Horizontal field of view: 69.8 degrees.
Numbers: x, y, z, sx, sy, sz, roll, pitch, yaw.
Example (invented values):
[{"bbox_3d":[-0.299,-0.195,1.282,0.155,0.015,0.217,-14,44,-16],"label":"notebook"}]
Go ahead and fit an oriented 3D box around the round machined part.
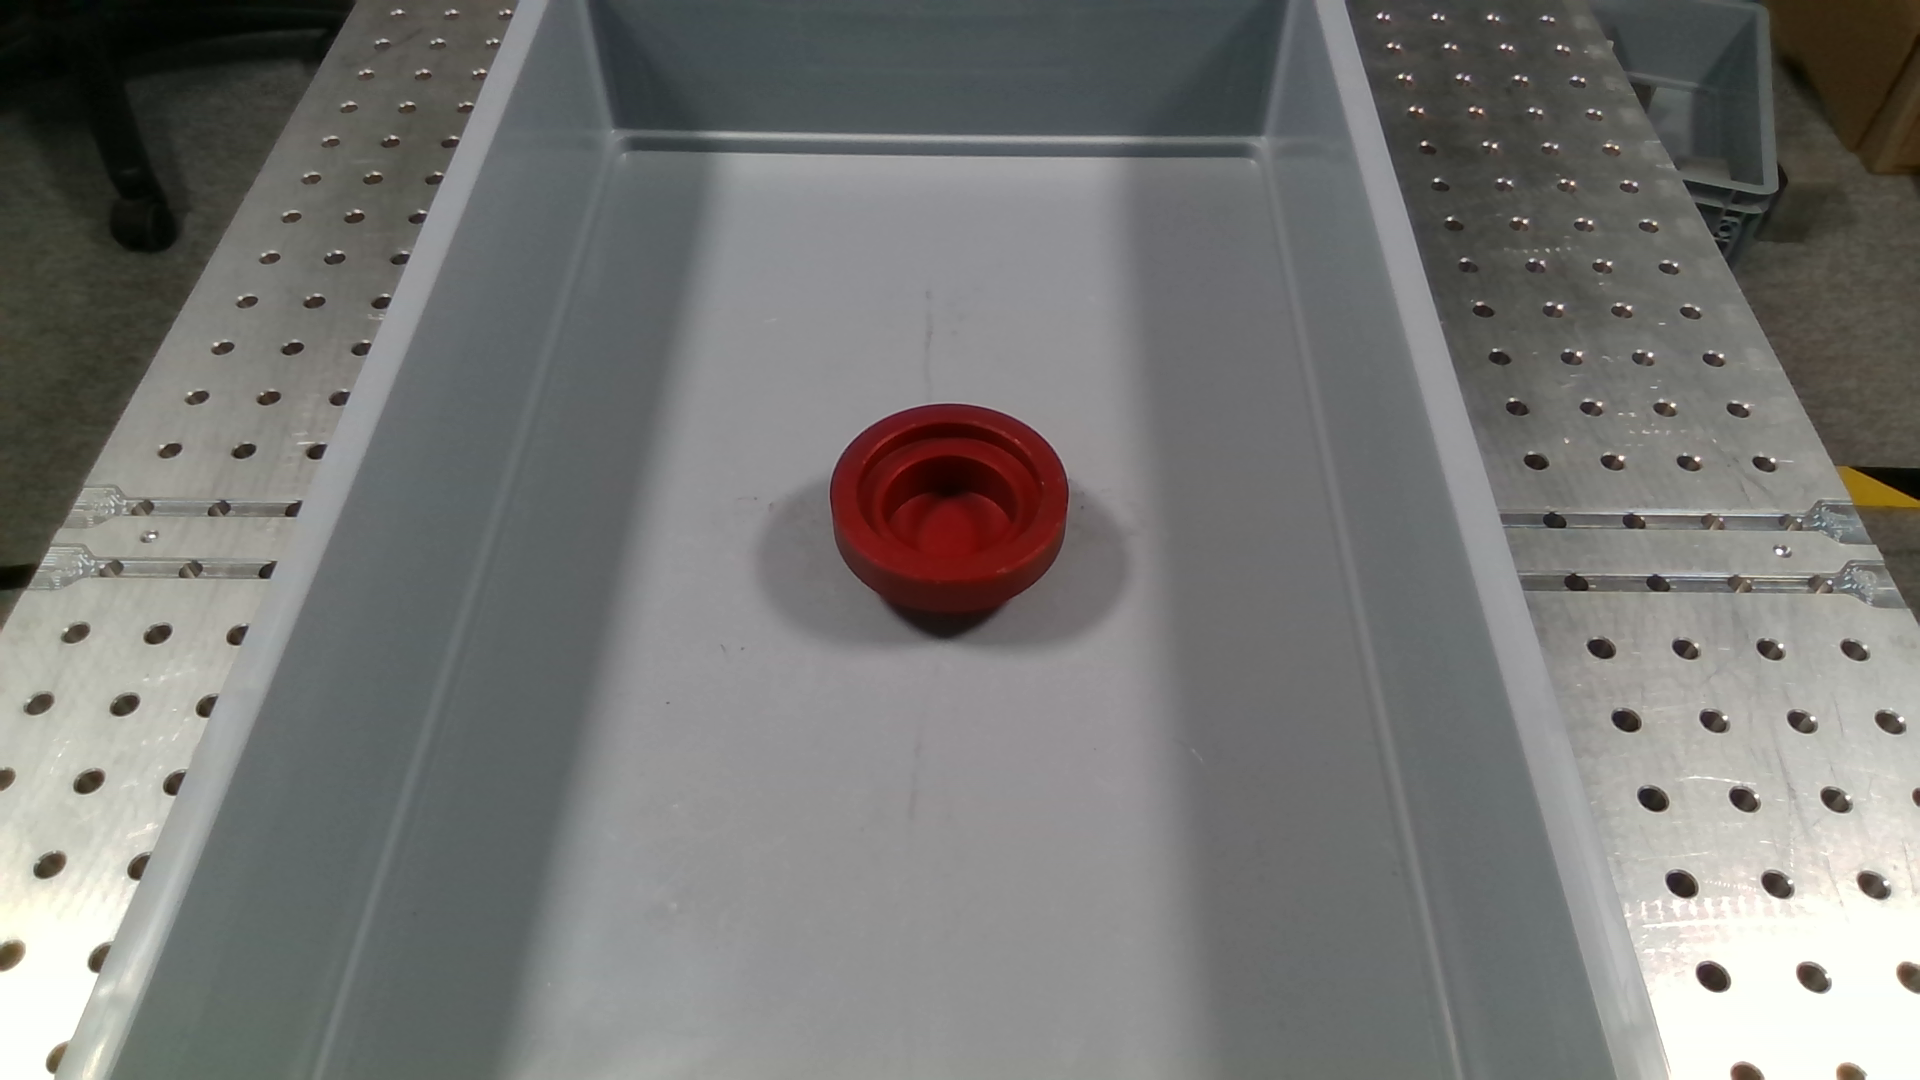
[{"bbox_3d":[-0.005,-0.009,0.579,0.098,0.042,0.098,0,50,0],"label":"round machined part"}]
